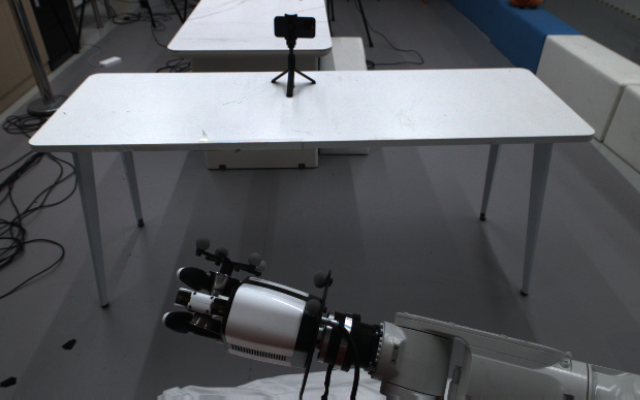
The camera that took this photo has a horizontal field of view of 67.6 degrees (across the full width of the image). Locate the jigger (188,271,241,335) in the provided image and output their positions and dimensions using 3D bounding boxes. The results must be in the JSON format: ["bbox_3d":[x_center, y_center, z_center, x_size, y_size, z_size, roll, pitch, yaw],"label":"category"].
[{"bbox_3d":[-0.126,0.126,0.600,0.043,0.043,0.071,12,70,14],"label":"jigger"}]
